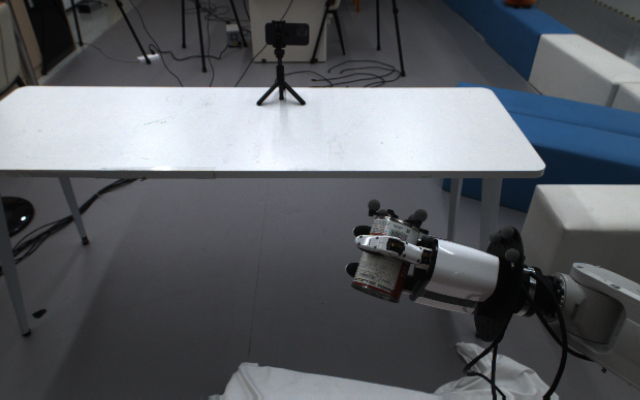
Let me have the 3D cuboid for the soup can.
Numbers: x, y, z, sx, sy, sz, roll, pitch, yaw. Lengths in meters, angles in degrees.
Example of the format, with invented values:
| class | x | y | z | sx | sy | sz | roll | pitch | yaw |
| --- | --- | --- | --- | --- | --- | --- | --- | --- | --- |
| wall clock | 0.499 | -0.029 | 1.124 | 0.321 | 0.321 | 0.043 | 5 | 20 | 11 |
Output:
| class | x | y | z | sx | sy | sz | roll | pitch | yaw |
| --- | --- | --- | --- | --- | --- | --- | --- | --- | --- |
| soup can | 0.091 | 0.080 | 0.661 | 0.067 | 0.067 | 0.101 | 15 | 75 | 18 |
